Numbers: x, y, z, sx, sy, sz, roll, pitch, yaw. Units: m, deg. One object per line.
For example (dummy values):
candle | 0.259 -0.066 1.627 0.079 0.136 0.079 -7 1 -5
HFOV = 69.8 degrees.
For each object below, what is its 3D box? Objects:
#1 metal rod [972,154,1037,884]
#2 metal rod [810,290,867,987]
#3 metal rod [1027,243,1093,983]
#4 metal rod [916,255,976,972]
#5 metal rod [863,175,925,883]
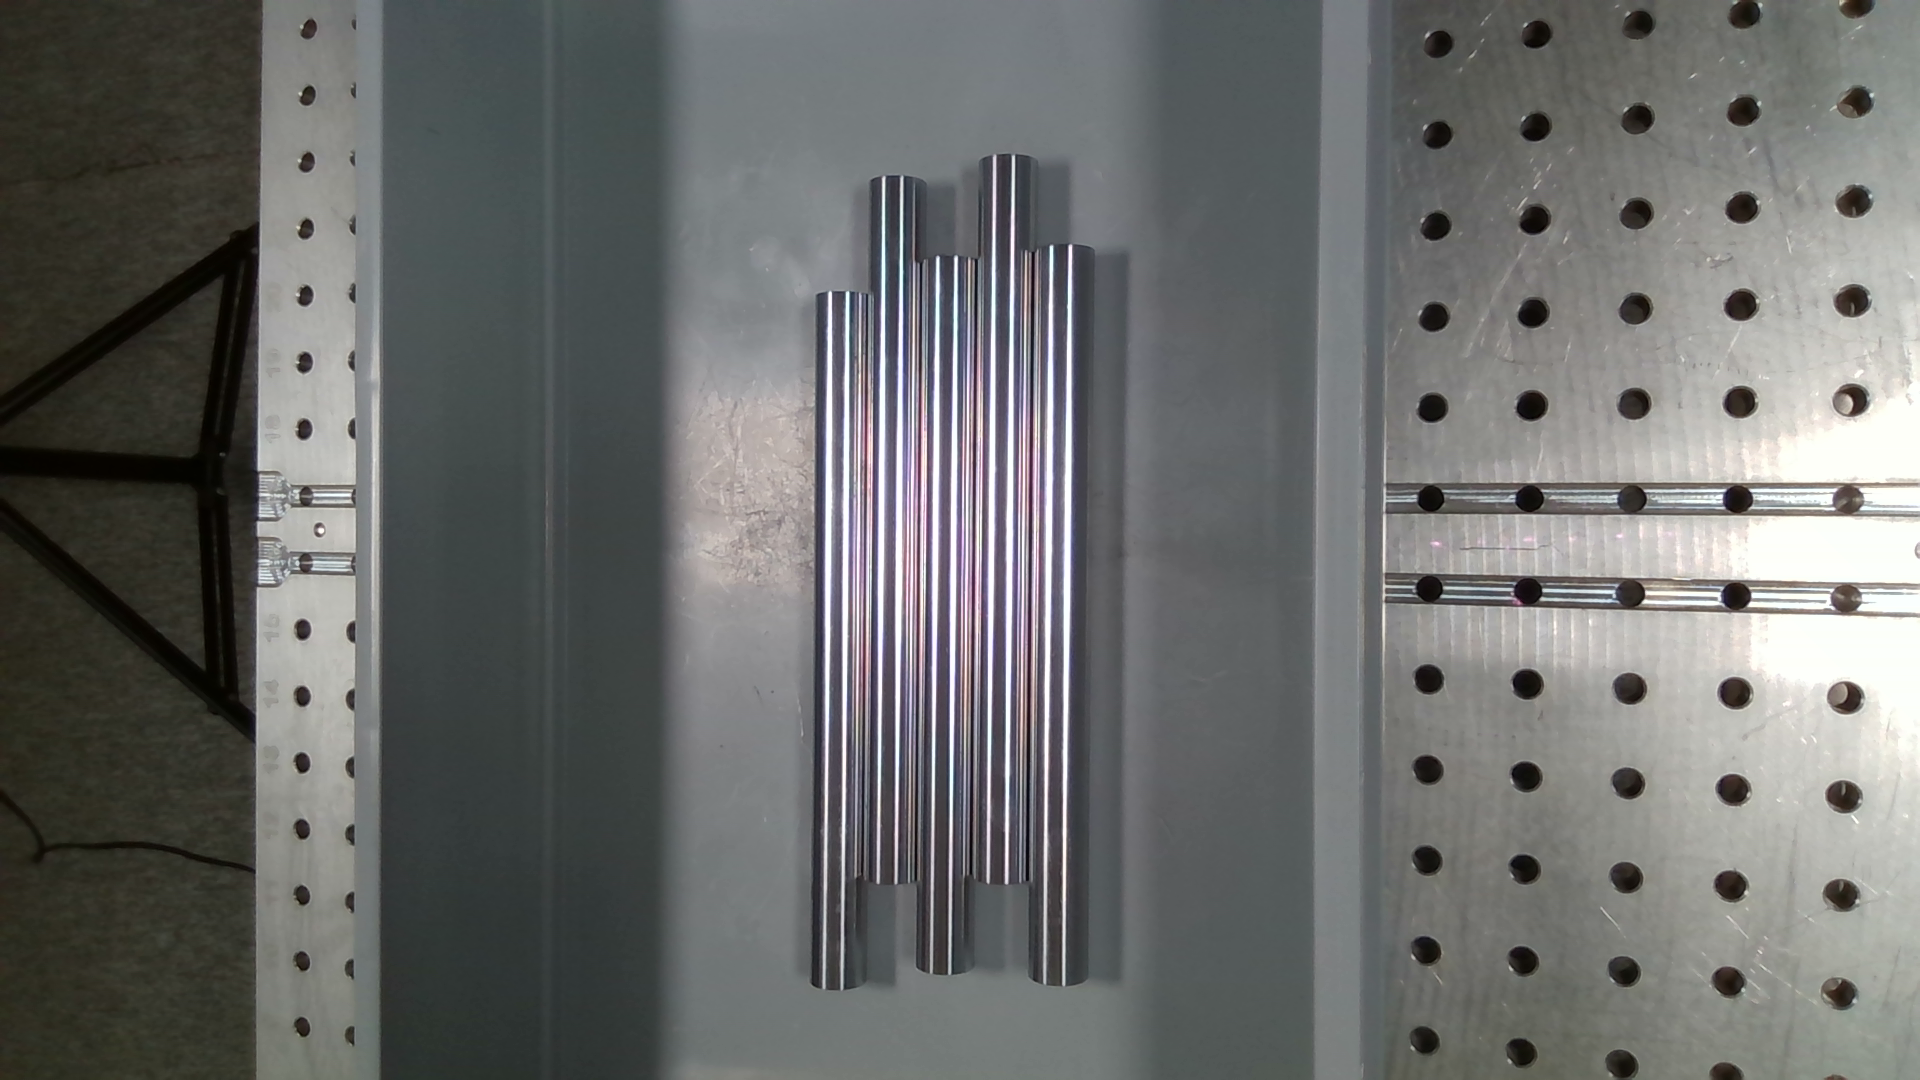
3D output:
metal rod | 0.019 -0.008 0.578 0.025 0.025 0.300 1 91 20
metal rod | -0.052 0.043 0.604 0.025 0.025 0.300 1 91 20
metal rod | 0.041 0.030 0.570 0.025 0.025 0.300 1 91 20
metal rod | -0.005 0.031 0.587 0.025 0.025 0.300 1 91 20
metal rod | -0.028 -0.004 0.595 0.025 0.025 0.300 1 91 20
